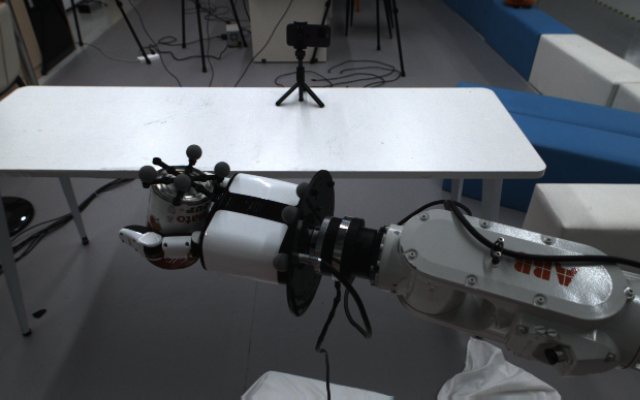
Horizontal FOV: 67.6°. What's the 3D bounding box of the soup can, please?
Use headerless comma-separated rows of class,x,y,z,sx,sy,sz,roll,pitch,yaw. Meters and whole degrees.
soup can,-0.160,0.022,0.548,0.067,0.101,0.067,14,35,-10
